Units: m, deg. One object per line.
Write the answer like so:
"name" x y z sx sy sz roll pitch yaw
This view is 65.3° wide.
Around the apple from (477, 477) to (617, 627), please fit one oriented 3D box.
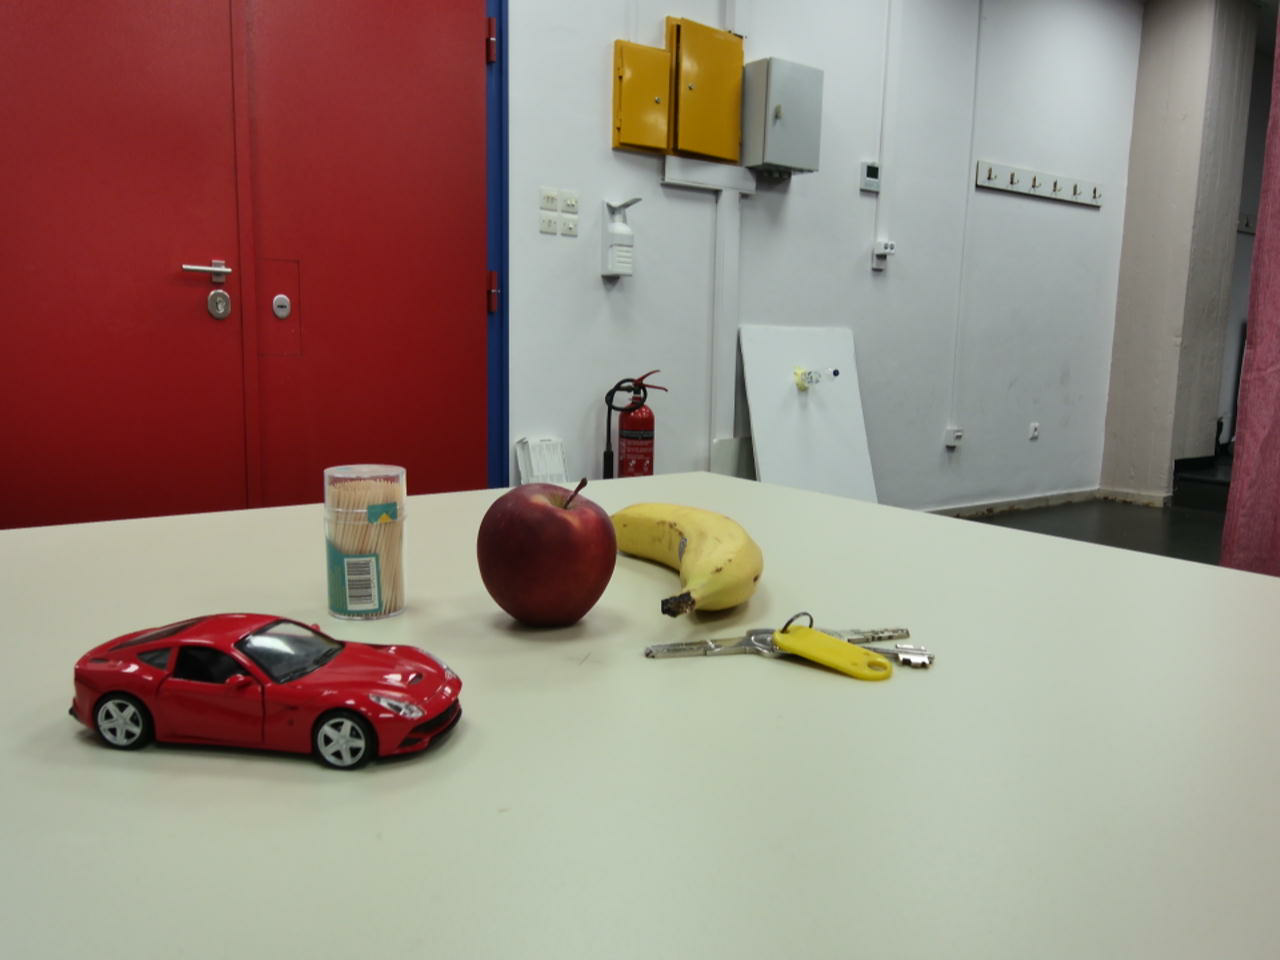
"apple" -0.047 0.037 0.503 0.070 0.072 0.070 0 7 0
